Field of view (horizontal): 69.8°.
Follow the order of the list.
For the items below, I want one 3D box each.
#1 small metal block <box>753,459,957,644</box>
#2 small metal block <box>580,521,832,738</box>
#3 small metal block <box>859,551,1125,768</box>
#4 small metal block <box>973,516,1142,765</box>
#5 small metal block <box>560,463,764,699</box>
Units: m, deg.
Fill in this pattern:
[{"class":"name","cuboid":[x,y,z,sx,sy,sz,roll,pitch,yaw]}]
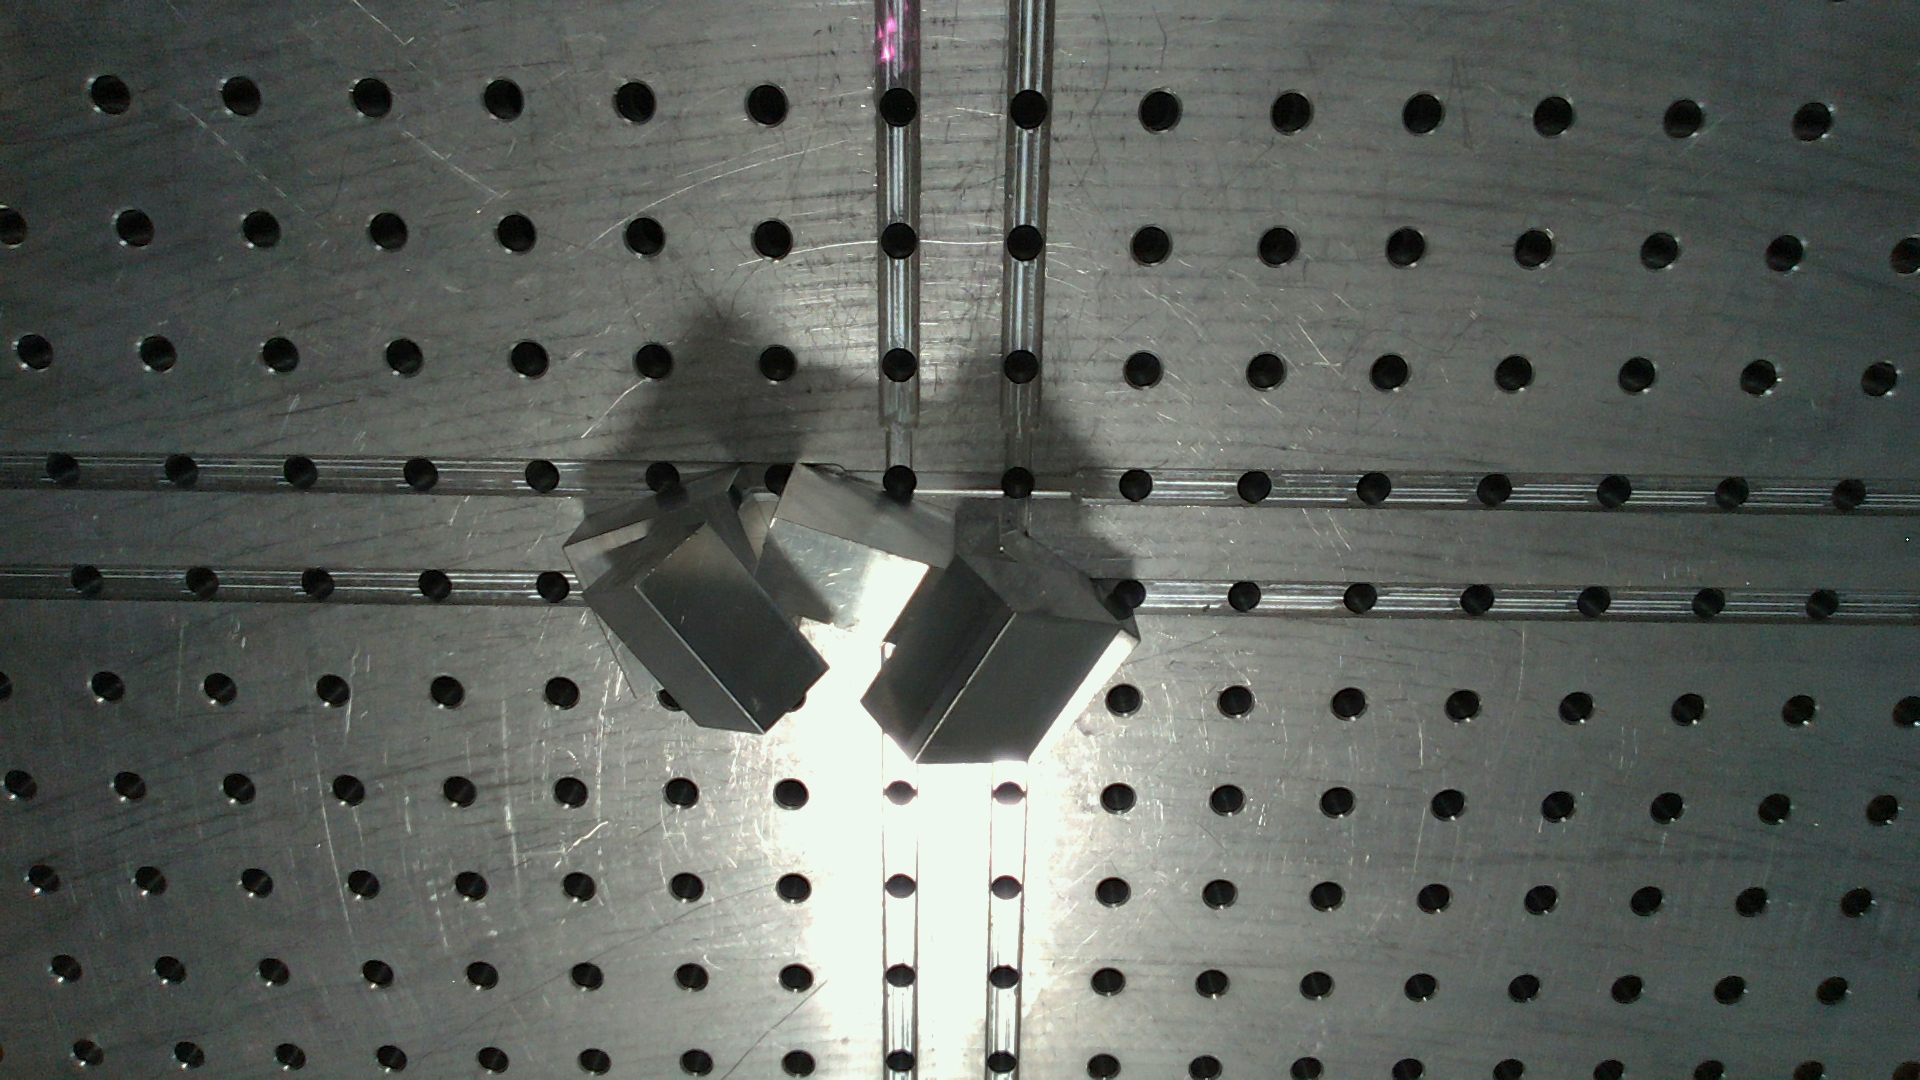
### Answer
[{"class":"small metal block","cuboid":[-0.029,0.004,0.384,0.050,0.050,0.025,18,109,-6]},{"class":"small metal block","cuboid":[-0.068,0.024,0.362,0.025,0.050,0.050,-46,108,-25]},{"class":"small metal block","cuboid":[0.009,0.033,0.367,0.050,0.025,0.050,10,118,-52]},{"class":"small metal block","cuboid":[0.017,0.030,0.408,0.050,0.025,0.050,34,107,-12]},{"class":"small metal block","cuboid":[-0.080,0.012,0.401,0.050,0.025,0.050,-19,109,7]}]
